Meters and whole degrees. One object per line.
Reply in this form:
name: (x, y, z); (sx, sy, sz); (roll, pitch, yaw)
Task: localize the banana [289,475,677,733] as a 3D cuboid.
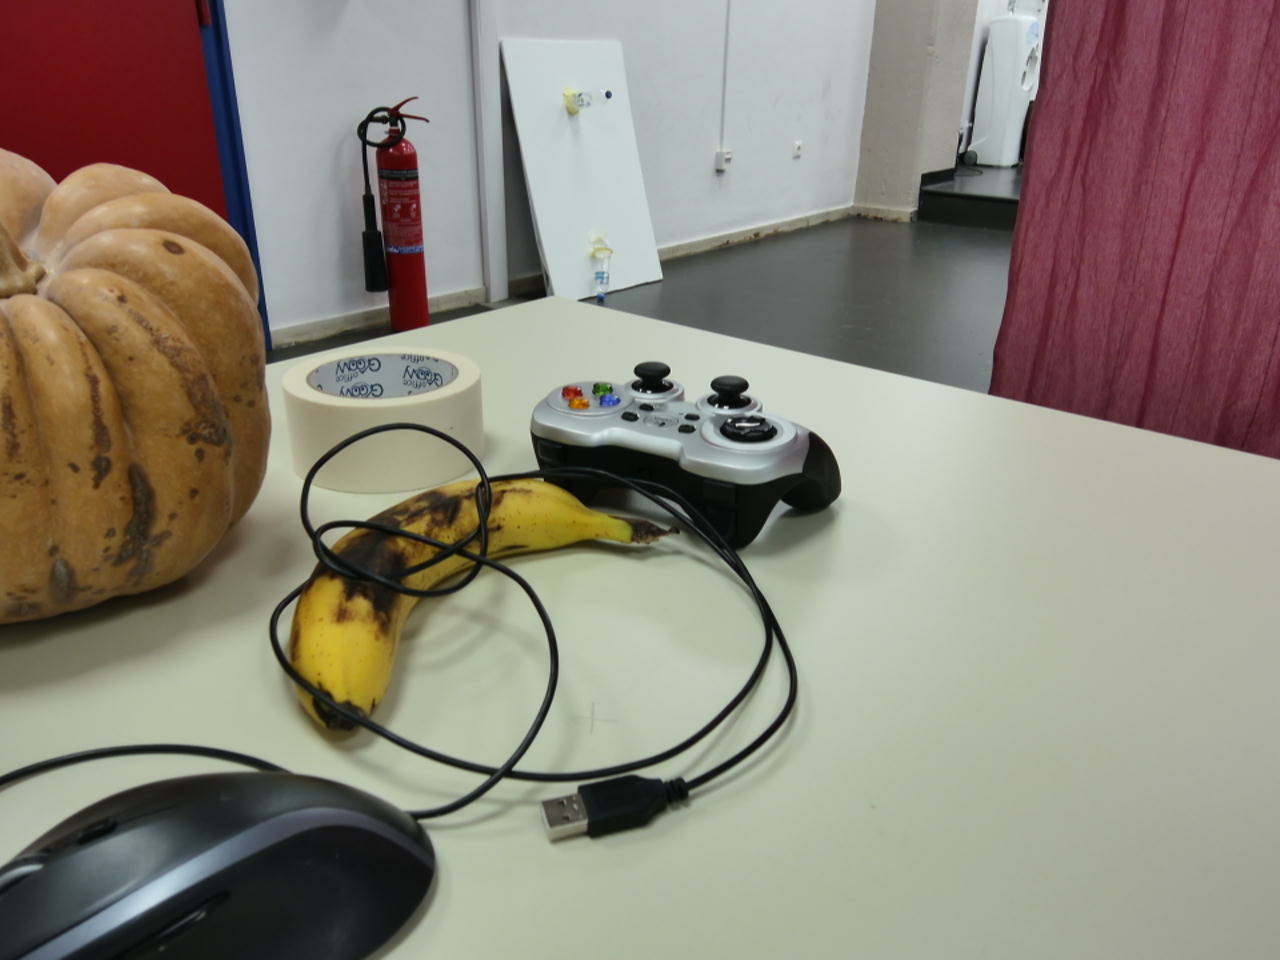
banana: (-0.078, 0.035, 0.414); (0.094, 0.039, 0.187); (17, 27, 33)
